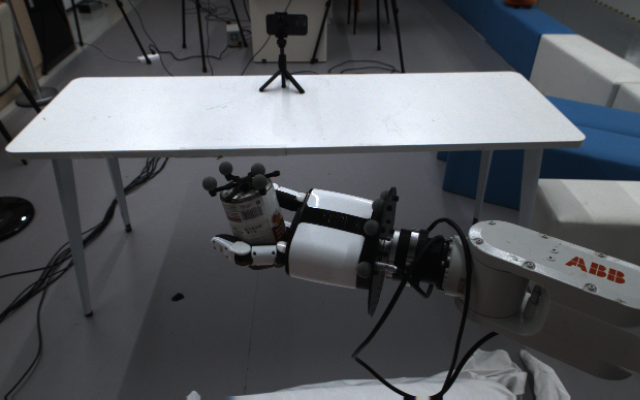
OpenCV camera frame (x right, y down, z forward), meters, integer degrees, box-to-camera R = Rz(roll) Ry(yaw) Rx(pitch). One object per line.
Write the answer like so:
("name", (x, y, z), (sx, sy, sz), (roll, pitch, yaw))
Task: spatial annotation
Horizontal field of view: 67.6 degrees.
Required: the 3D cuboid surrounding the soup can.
("soup can", (-0.078, 0.028, 0.607), (0.067, 0.101, 0.067), (-11, 27, 6))
